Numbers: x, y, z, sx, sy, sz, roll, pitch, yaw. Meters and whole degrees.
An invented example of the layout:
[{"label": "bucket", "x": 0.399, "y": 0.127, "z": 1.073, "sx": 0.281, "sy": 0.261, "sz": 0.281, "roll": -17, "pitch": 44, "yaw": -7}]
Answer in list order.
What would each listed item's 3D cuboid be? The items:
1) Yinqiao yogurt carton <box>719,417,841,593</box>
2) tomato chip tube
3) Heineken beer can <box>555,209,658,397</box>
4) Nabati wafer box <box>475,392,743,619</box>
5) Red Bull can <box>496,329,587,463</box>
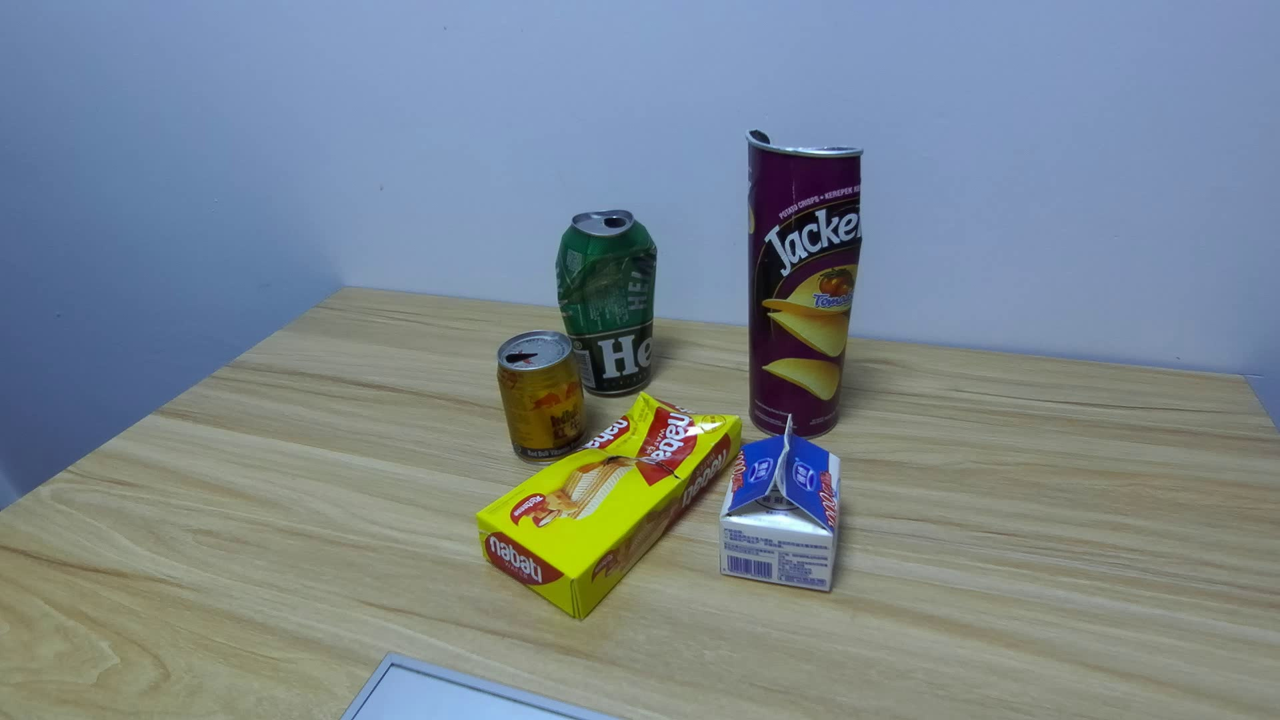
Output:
[{"label": "Yinqiao yogurt carton", "x": 0.093, "y": 0.088, "z": 0.459, "sx": 0.073, "sy": 0.092, "sz": 0.075, "roll": 5, "pitch": 32, "yaw": 17}, {"label": "tomato chip tube", "x": 0.124, "y": -0.054, "z": 0.548, "sx": 0.076, "sy": 0.235, "sz": 0.077, "roll": -3, "pitch": 31, "yaw": 4}, {"label": "Heineken beer can", "x": -0.030, "y": -0.049, "z": 0.629, "sx": 0.077, "sy": 0.164, "sz": 0.066, "roll": 11, "pitch": 35, "yaw": 20}, {"label": "Nabati wafer box", "x": -0.016, "y": 0.089, "z": 0.527, "sx": 0.106, "sy": 0.042, "sz": 0.205, "roll": 21, "pitch": 39, "yaw": 33}, {"label": "Red Bull can", "x": -0.080, "y": 0.031, "z": 0.582, "sx": 0.067, "sy": 0.093, "sz": 0.067, "roll": -3, "pitch": 31, "yaw": 2}]
